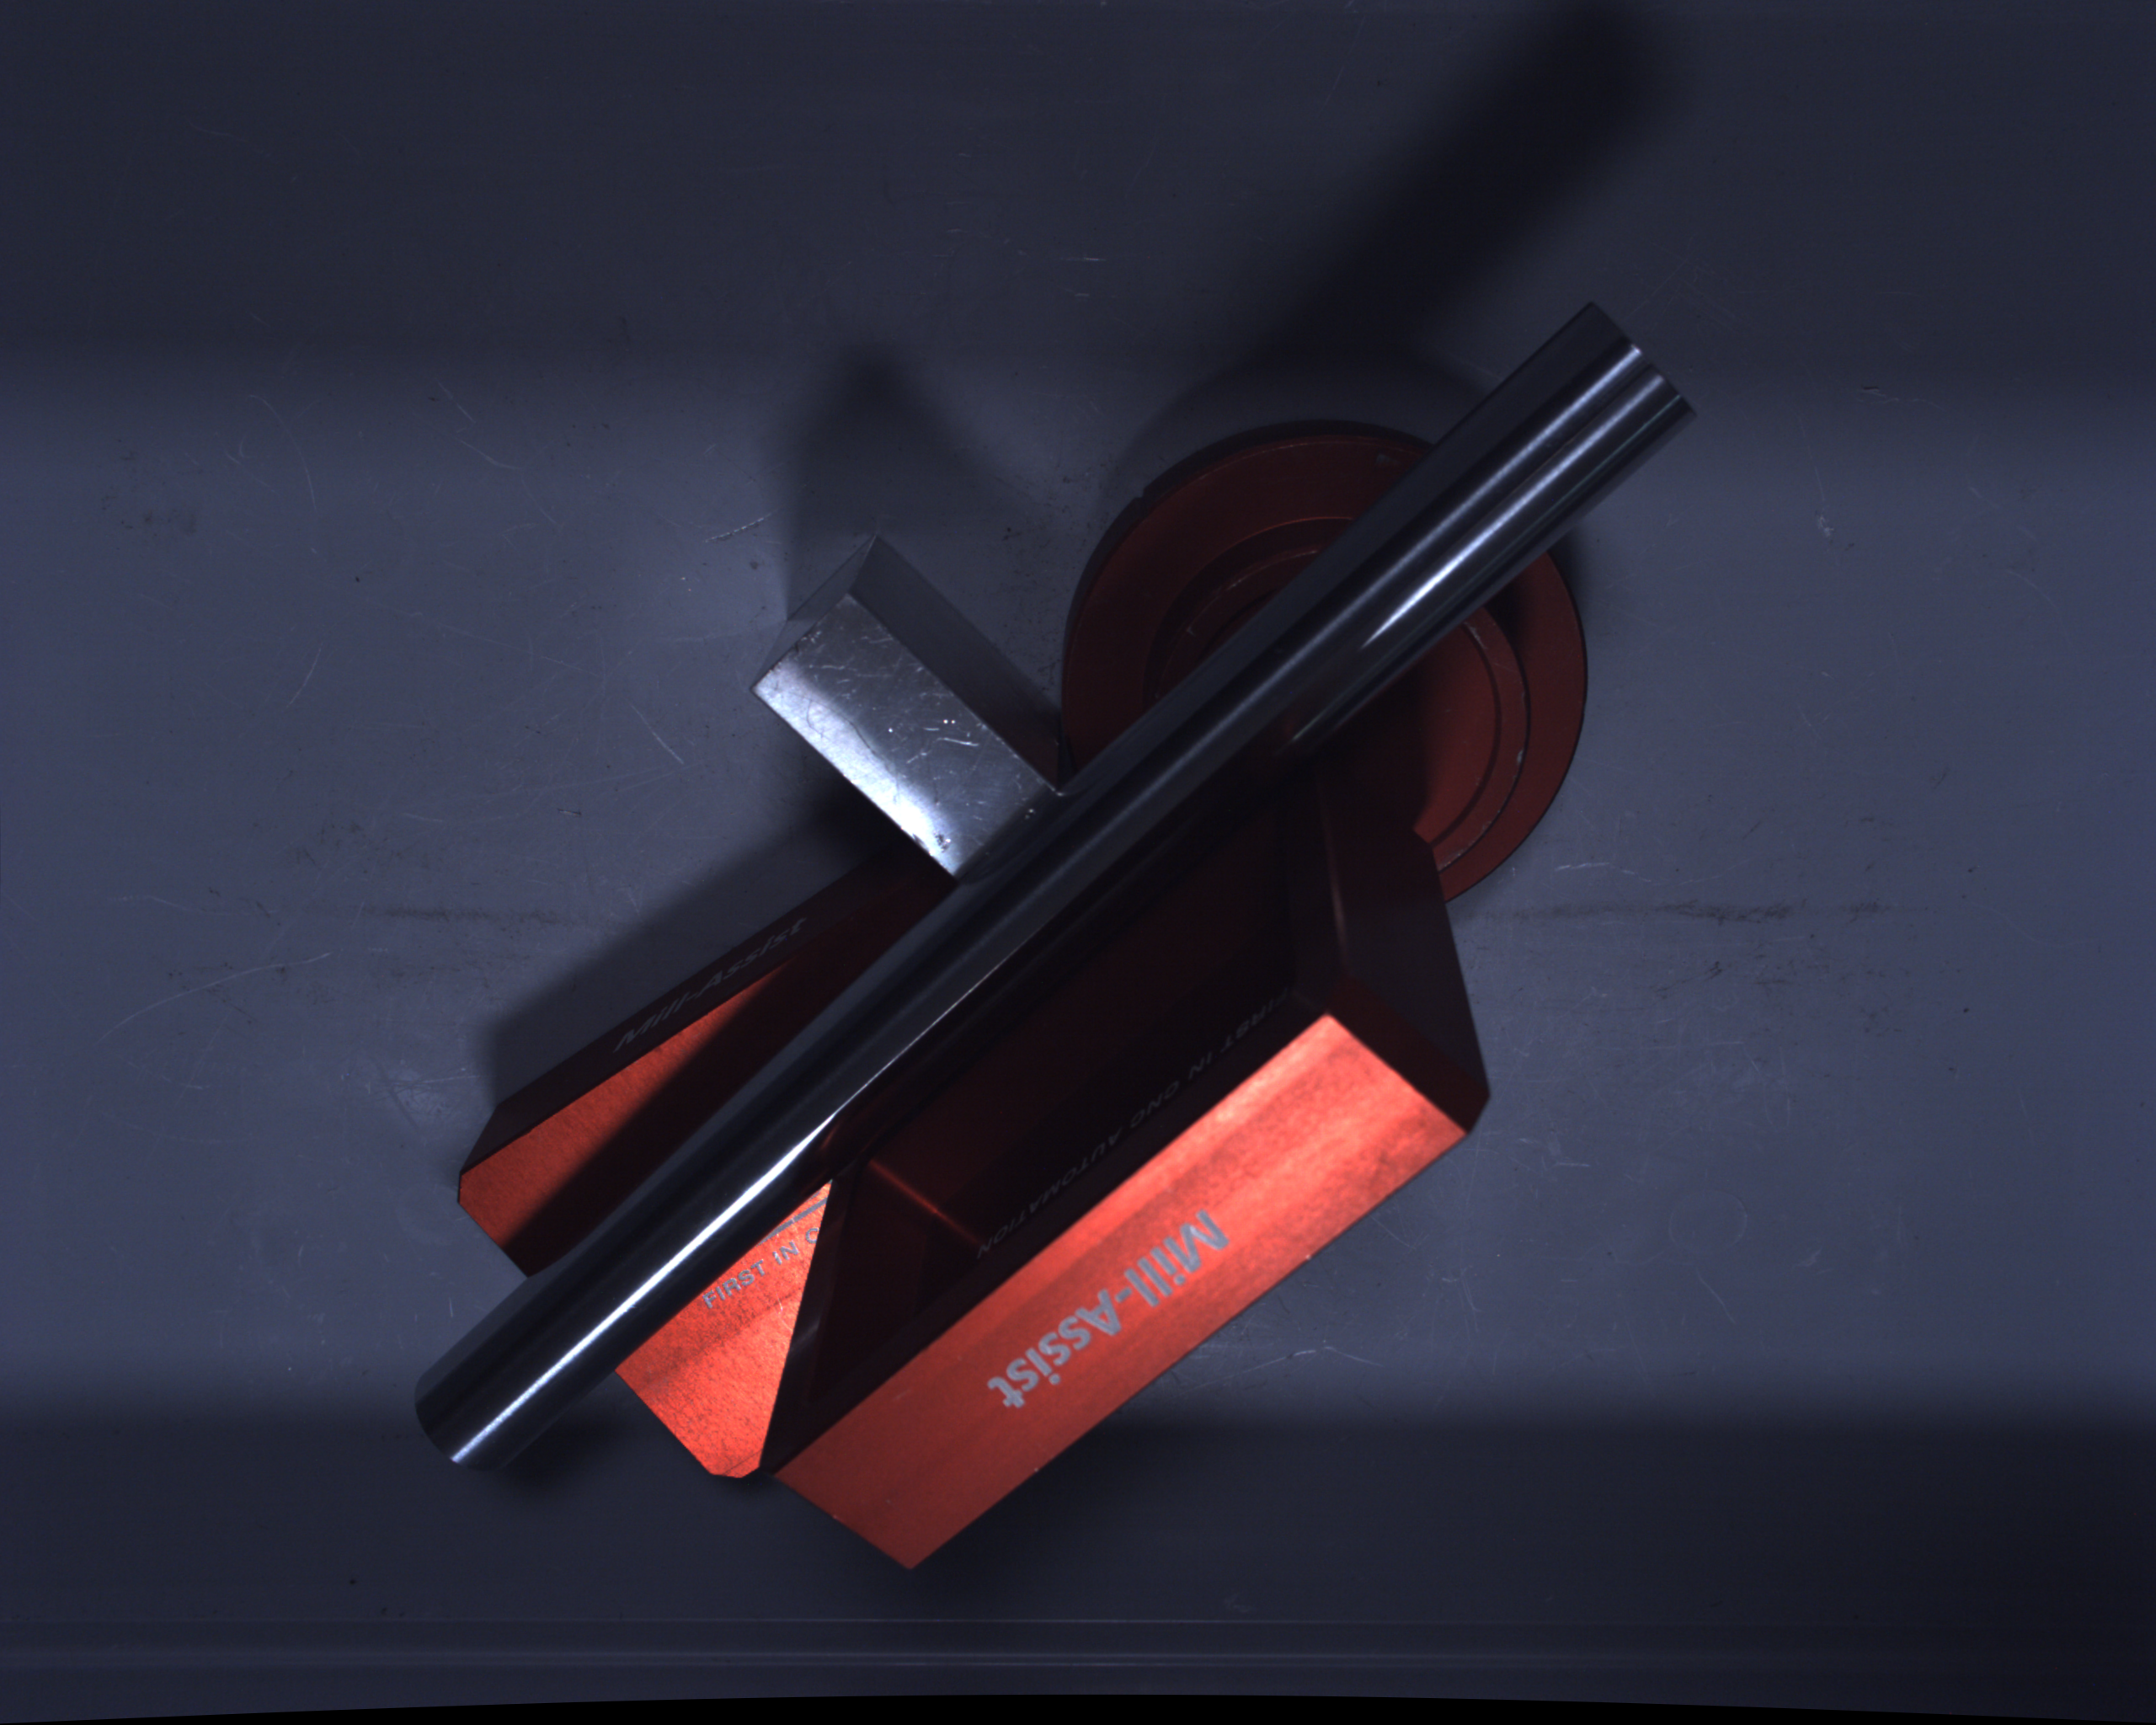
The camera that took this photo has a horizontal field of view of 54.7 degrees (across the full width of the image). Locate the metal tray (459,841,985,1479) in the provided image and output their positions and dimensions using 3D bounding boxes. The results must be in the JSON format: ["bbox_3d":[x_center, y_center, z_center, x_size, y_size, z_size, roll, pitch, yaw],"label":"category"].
[{"bbox_3d":[-0.047,0.059,0.428,0.130,0.030,0.090,-33,107,11],"label":"metal tray"}]

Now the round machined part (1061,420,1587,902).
[{"bbox_3d":[0.046,-0.031,0.390,0.099,0.042,0.097,0,110,-1],"label":"round machined part"}]

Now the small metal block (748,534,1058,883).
[{"bbox_3d":[-0.030,-0.030,0.385,0.025,0.050,0.050,-43,105,14],"label":"small metal block"}]

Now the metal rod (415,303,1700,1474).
[{"bbox_3d":[-0.016,0.016,0.374,0.299,0.025,0.025,-42,105,18],"label":"metal rod"}]

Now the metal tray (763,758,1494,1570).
[{"bbox_3d":[0.006,0.047,0.352,0.030,0.090,0.130,41,111,-17],"label":"metal tray"}]
